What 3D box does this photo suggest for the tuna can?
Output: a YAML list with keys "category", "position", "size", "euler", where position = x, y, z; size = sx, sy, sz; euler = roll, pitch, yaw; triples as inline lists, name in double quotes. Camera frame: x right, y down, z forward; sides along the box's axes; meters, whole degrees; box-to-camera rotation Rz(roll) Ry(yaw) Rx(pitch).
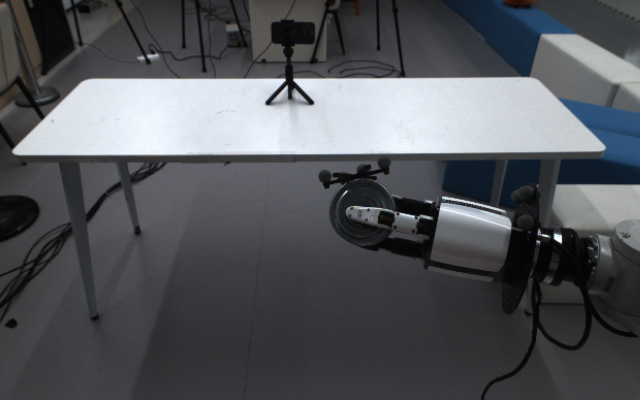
- category: "tuna can"
  position: [0.058, 0.014, 0.621]
  size: [0.085, 0.085, 0.034]
  euler: [12, -6, 14]
